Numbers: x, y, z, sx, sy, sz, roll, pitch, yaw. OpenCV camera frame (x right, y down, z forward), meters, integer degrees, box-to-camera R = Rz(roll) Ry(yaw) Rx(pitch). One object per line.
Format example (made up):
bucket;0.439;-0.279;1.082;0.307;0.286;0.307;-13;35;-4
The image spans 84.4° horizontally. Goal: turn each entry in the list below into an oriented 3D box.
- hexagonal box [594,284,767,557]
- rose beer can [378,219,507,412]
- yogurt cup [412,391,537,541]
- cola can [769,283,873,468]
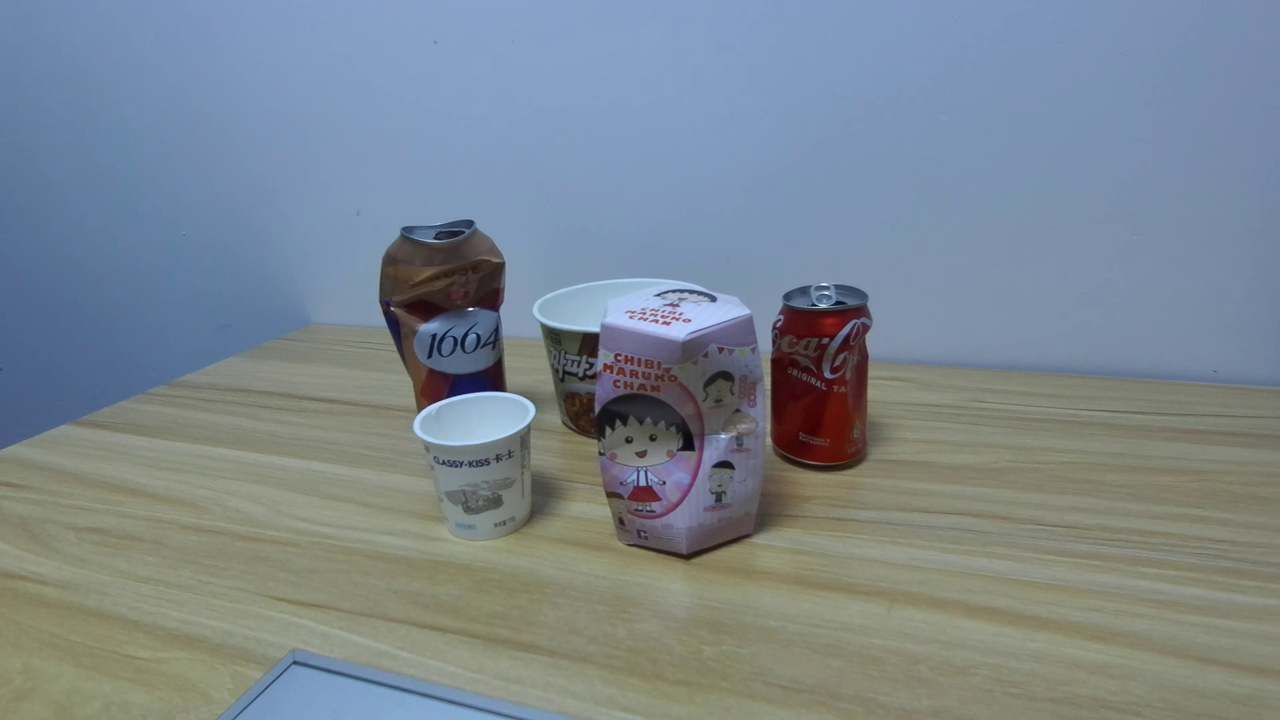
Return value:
hexagonal box;0.019;0.032;0.403;0.089;0.135;0.093;-5;22;-6
rose beer can;-0.139;-0.019;0.524;0.068;0.162;0.074;10;26;29
yogurt cup;-0.095;0.065;0.427;0.072;0.068;0.072;-3;21;1
cola can;0.123;0.009;0.478;0.066;0.117;0.066;17;30;42
